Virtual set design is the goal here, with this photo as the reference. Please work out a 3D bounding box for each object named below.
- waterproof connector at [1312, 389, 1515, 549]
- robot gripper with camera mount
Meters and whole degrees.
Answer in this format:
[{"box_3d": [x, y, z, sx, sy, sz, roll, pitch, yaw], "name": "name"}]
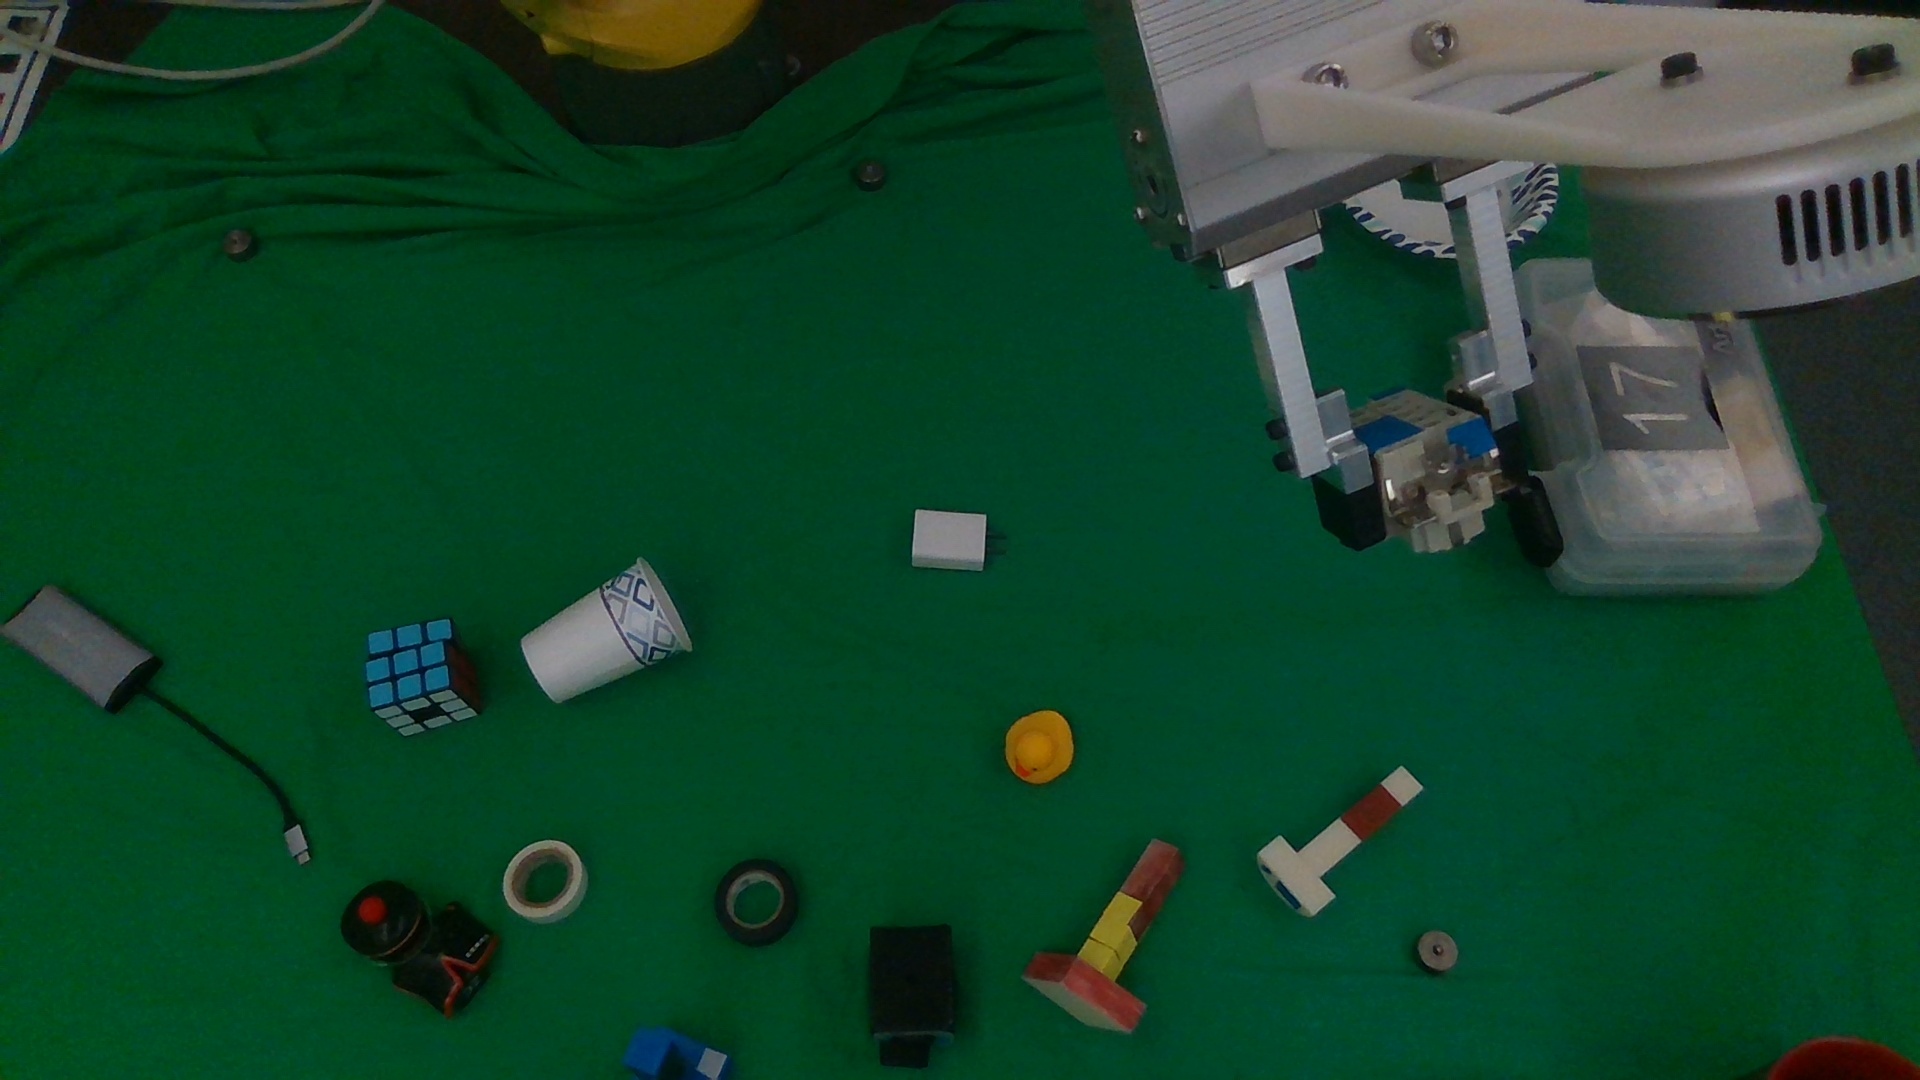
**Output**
[{"box_3d": [0.136, -0.021, 0.424, 0.035, 0.065, 0.037, -25, 110, -7], "name": "waterproof connector"}, {"box_3d": [0.145, -0.063, 0.323, 0.119, 0.158, 0.194, -21, 21, -12], "name": "robot gripper with camera mount"}]
